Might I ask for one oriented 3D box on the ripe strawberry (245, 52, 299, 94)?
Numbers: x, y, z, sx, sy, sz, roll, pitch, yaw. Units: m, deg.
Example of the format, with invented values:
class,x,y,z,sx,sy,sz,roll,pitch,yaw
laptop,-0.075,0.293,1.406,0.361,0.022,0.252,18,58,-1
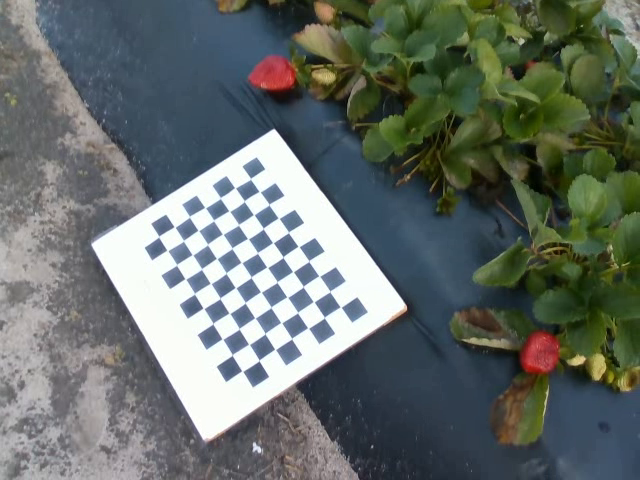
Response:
class,x,y,z,sx,sy,sz,roll,pitch,yaw
ripe strawberry,-0.072,-0.249,0.984,0.074,0.067,0.039,-29,-23,-7
